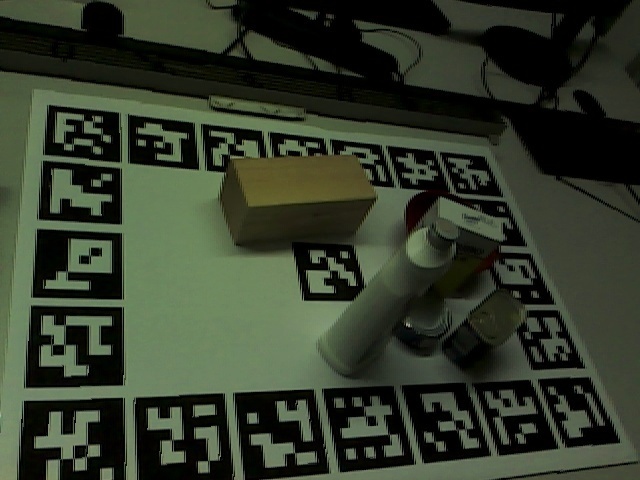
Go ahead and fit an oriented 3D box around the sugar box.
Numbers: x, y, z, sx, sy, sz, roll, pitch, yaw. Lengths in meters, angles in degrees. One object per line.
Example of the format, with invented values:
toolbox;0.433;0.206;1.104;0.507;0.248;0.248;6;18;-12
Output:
sugar box;0.179;0.010;0.852;0.093;0.176;0.045;17;48;-6

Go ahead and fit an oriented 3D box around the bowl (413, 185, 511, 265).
bowl;0.214;-0.011;0.976;0.161;0.055;0.162;10;48;-12

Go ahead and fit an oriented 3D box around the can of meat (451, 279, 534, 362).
can of meat;0.237;0.114;0.861;0.101;0.084;0.058;-27;63;-41

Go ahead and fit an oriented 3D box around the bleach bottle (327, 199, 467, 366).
bleach bottle;0.095;0.049;0.730;0.102;0.251;0.068;-22;62;-37

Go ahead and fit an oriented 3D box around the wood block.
wood block;-0.028;-0.069;0.895;0.205;0.090;0.091;-5;58;-29

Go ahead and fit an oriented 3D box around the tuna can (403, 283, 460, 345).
tuna can;0.147;0.101;0.857;0.085;0.034;0.086;12;50;-15
